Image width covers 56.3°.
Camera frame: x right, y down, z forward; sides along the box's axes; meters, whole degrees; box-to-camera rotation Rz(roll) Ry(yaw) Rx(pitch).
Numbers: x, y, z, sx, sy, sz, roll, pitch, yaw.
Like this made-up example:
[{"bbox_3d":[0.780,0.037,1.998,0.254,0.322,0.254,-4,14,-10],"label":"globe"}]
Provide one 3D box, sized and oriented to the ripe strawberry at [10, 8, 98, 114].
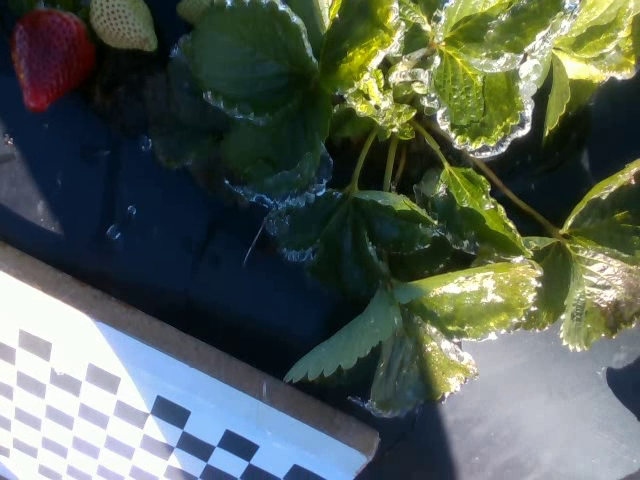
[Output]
[{"bbox_3d":[-0.121,-0.077,0.263,0.040,0.053,0.042,-4,-29,19],"label":"ripe strawberry"}]
